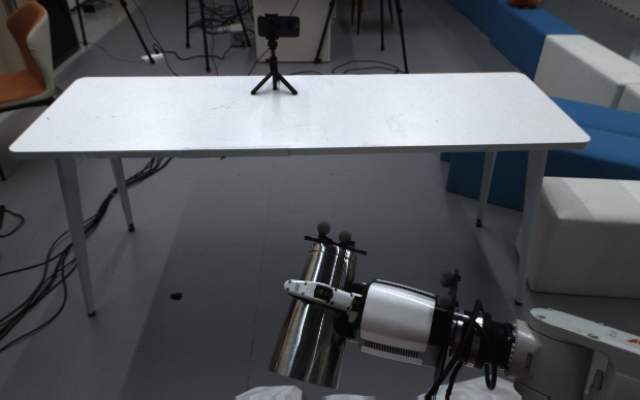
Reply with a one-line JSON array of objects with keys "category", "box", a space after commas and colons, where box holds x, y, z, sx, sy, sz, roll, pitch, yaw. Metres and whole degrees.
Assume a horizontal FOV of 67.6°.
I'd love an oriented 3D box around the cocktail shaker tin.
[{"category": "cocktail shaker tin", "box": [0.000, 0.148, 0.635, 0.093, 0.093, 0.170, 11, 71, 12]}]
